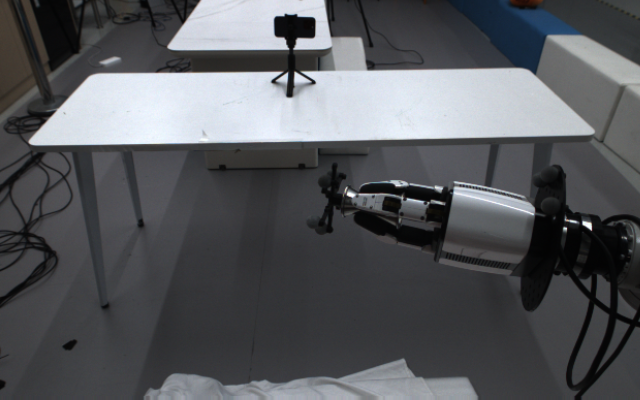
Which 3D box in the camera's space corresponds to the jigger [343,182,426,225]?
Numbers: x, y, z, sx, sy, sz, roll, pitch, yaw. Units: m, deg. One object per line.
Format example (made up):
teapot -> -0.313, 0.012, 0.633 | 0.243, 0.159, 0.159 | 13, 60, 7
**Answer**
jigger -> 0.069, 0.004, 0.569 | 0.071, 0.043, 0.043 | 10, 35, 16
